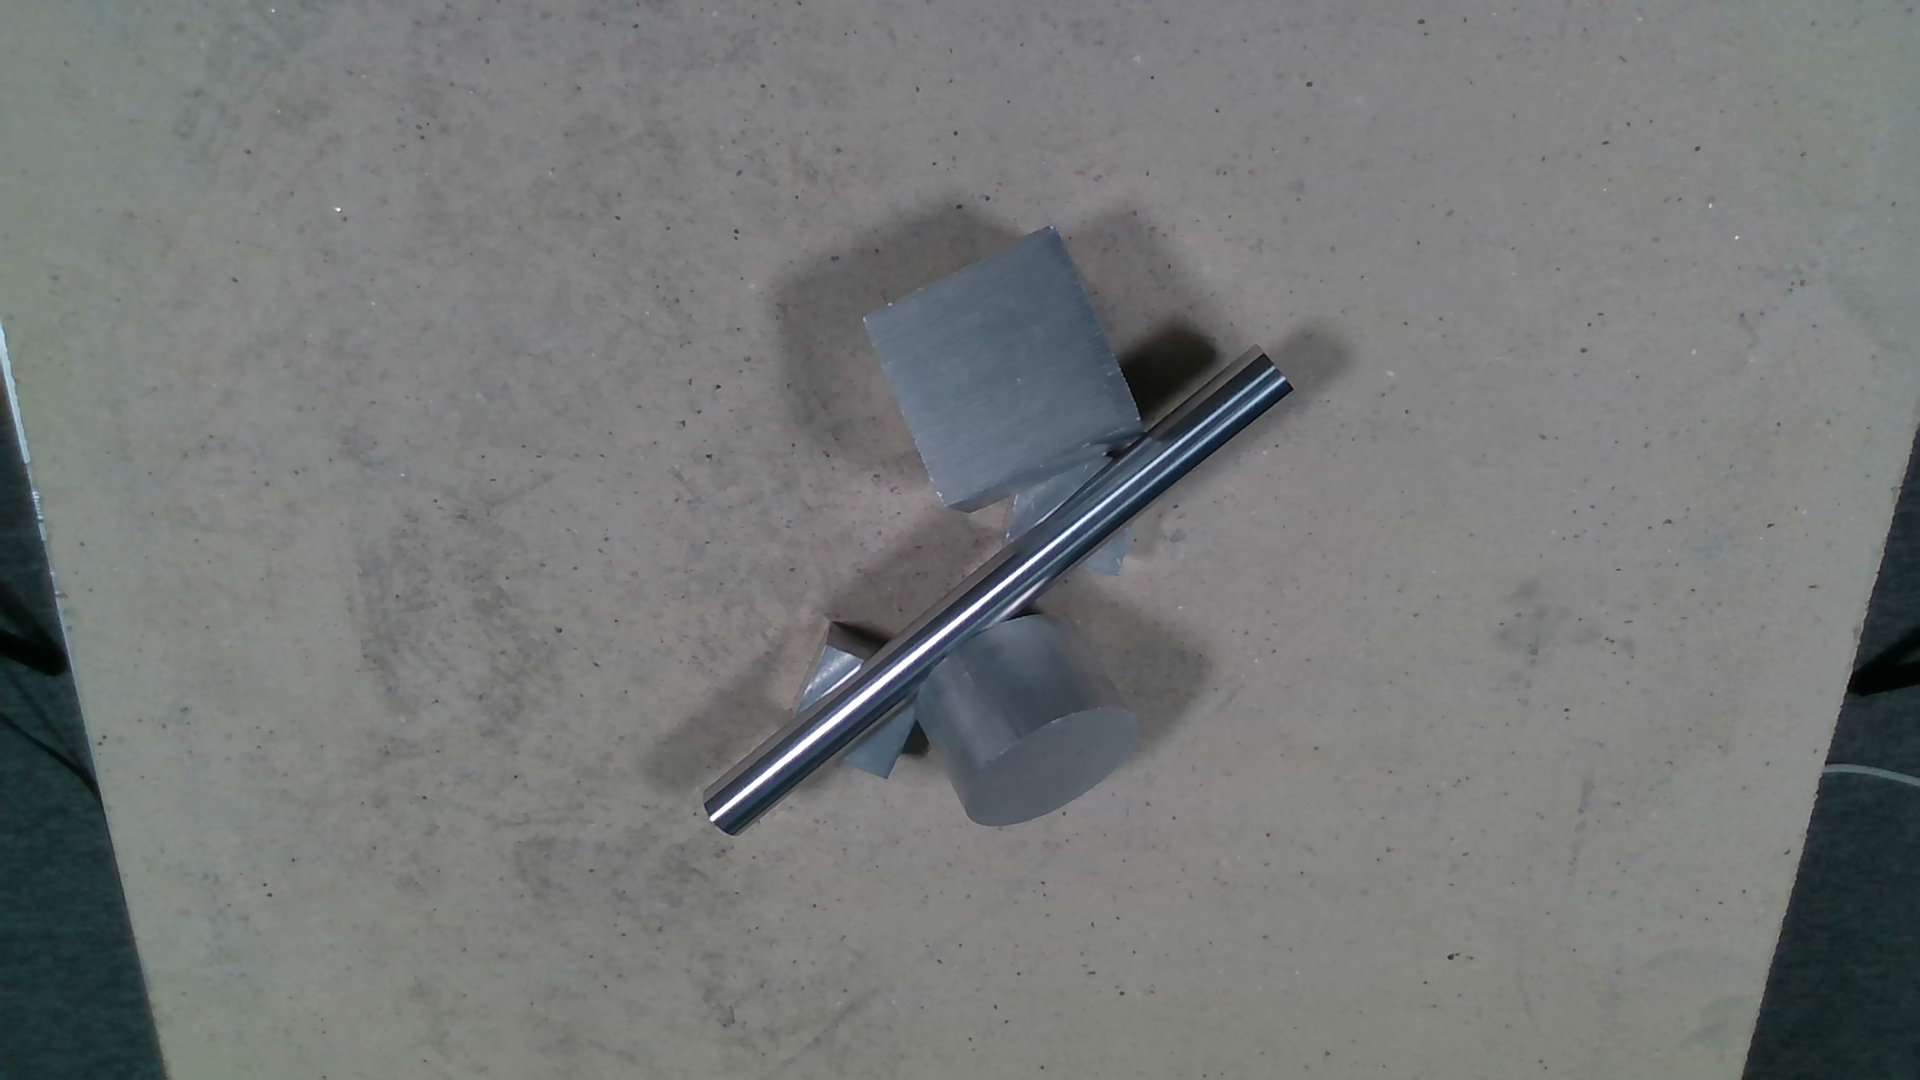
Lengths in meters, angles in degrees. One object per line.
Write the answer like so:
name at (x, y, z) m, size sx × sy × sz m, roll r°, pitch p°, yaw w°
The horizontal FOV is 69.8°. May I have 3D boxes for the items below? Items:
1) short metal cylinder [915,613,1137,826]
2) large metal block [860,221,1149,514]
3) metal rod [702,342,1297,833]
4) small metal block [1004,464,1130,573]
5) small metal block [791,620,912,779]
short metal cylinder at (0.027, 0.076, 0.578) m, size 0.080 × 0.050 × 0.080 m, roll -21°, pitch 145°, yaw -15°
large metal block at (0.019, -0.063, 0.531) m, size 0.080 × 0.050 × 0.080 m, roll -24°, pitch 85°, yaw 9°
metal rod at (0.009, 0.025, 0.568) m, size 0.300 × 0.025 × 0.025 m, roll -39°, pitch 105°, yaw 13°
small metal block at (0.047, -0.018, 0.578) m, size 0.050 × 0.025 × 0.050 m, roll 11°, pitch 110°, yaw -4°
small metal block at (-0.045, 0.071, 0.611) m, size 0.050 × 0.025 × 0.050 m, roll 23°, pitch 109°, yaw -8°
